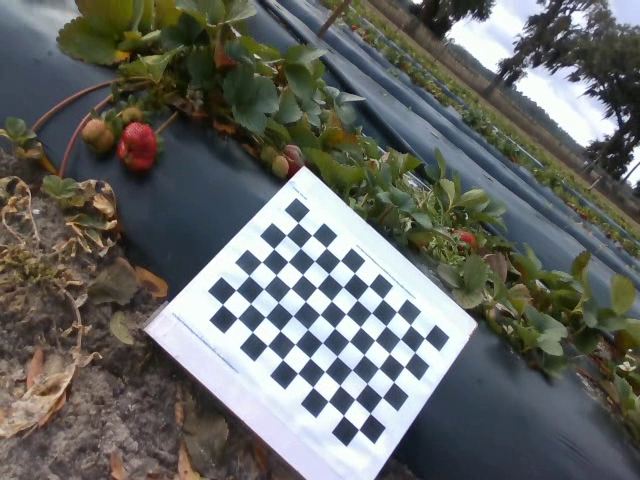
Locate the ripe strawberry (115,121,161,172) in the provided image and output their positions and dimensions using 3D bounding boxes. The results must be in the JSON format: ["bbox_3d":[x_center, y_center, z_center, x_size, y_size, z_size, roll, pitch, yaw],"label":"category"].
[{"bbox_3d":[-0.230,-0.126,0.748,0.066,0.075,0.053,25,-23,-8],"label":"ripe strawberry"}]
